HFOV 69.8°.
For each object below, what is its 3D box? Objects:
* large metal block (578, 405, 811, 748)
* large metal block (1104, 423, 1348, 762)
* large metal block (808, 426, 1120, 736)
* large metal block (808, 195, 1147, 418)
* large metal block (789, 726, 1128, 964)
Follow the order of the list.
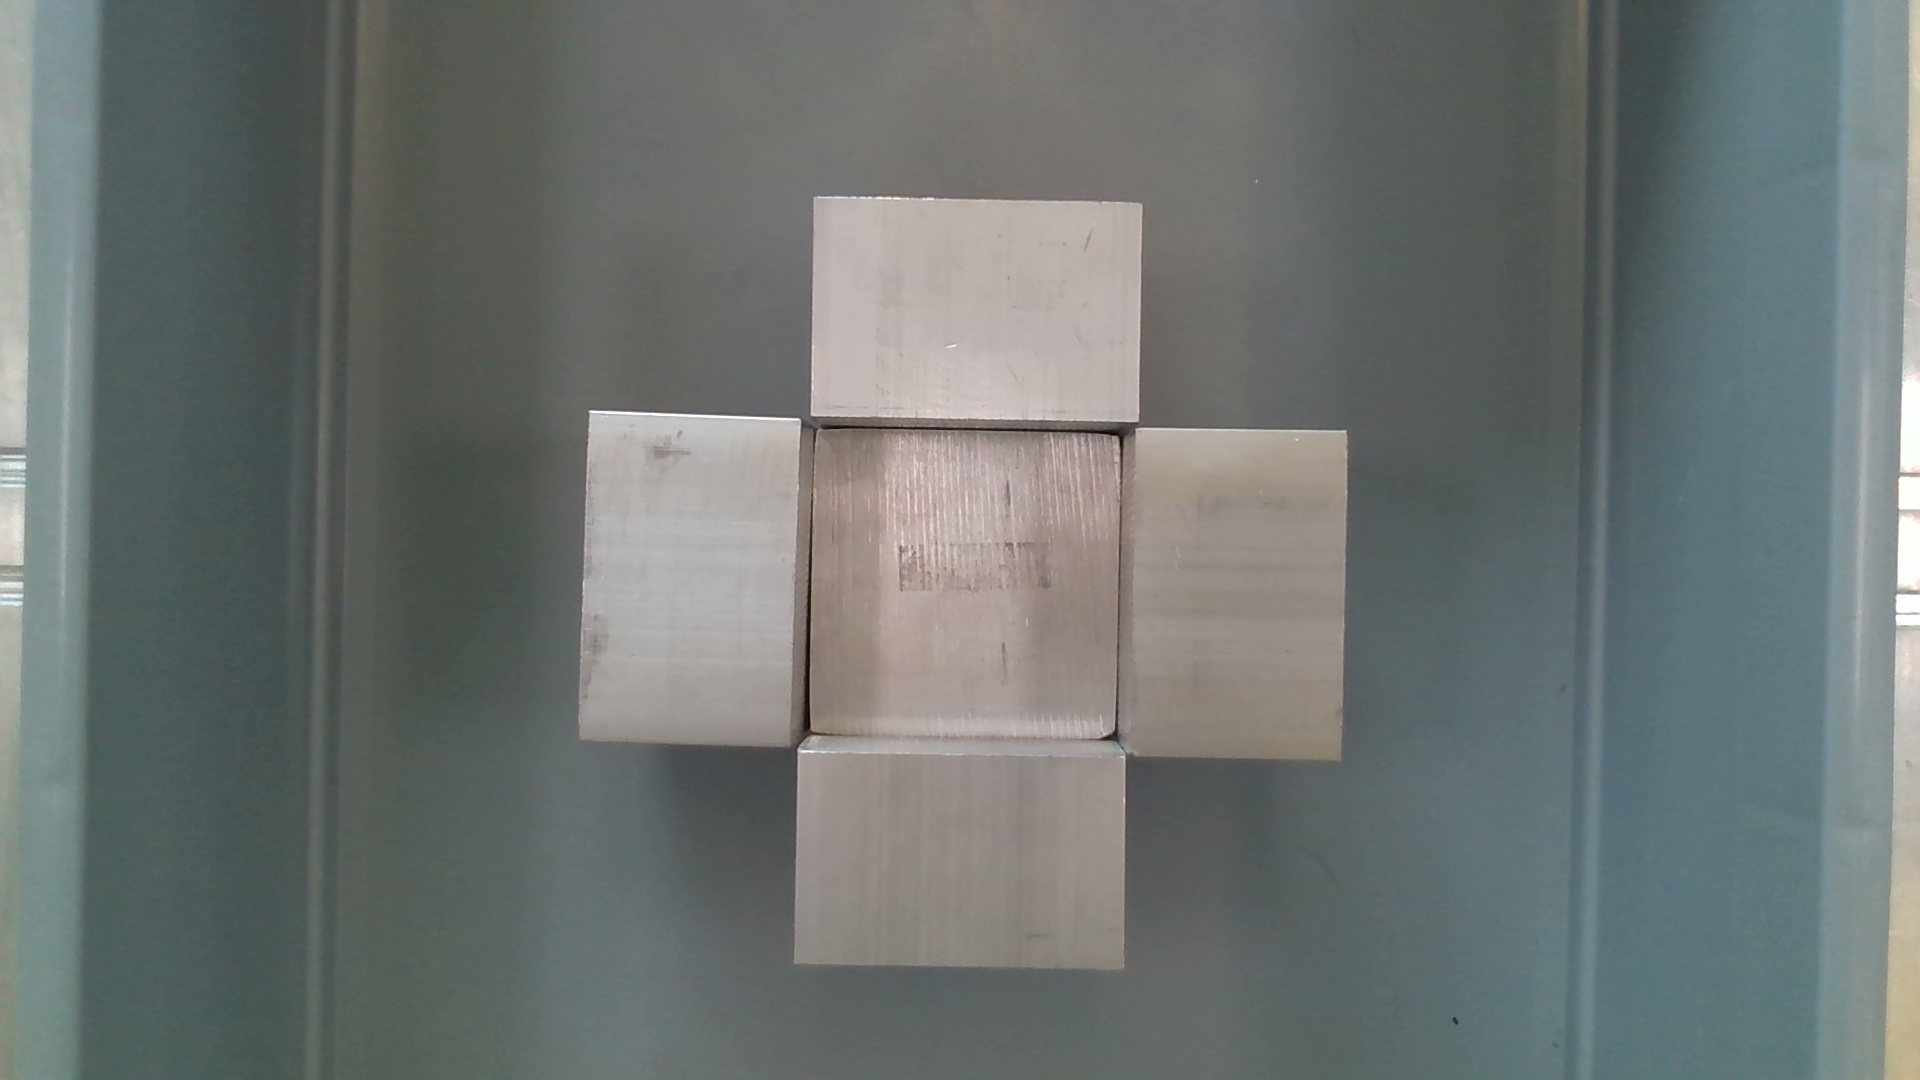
[{"bbox_3d":[-0.064,0.009,0.367,0.050,0.080,0.080,2,90,0],"label":"large metal block"},{"bbox_3d":[0.067,0.013,0.367,0.050,0.080,0.080,1,90,0],"label":"large metal block"},{"bbox_3d":[0.001,0.011,0.381,0.080,0.050,0.080,1,90,0],"label":"large metal block"},{"bbox_3d":[0.004,-0.056,0.367,0.080,0.080,0.050,1,90,0],"label":"large metal block"},{"bbox_3d":[0.000,0.076,0.368,0.080,0.080,0.050,1,90,0],"label":"large metal block"}]
